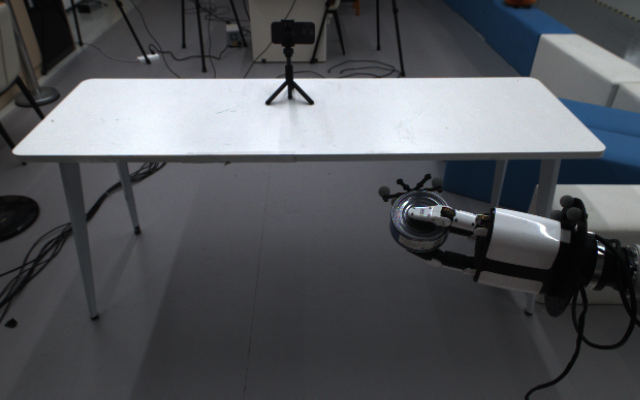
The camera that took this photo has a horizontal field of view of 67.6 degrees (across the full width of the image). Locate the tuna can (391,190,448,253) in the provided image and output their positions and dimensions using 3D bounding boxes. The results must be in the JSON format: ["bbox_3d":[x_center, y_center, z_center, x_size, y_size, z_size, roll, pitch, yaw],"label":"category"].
[{"bbox_3d":[0.146,0.028,0.689,0.085,0.034,0.085,-3,59,5],"label":"tuna can"}]
